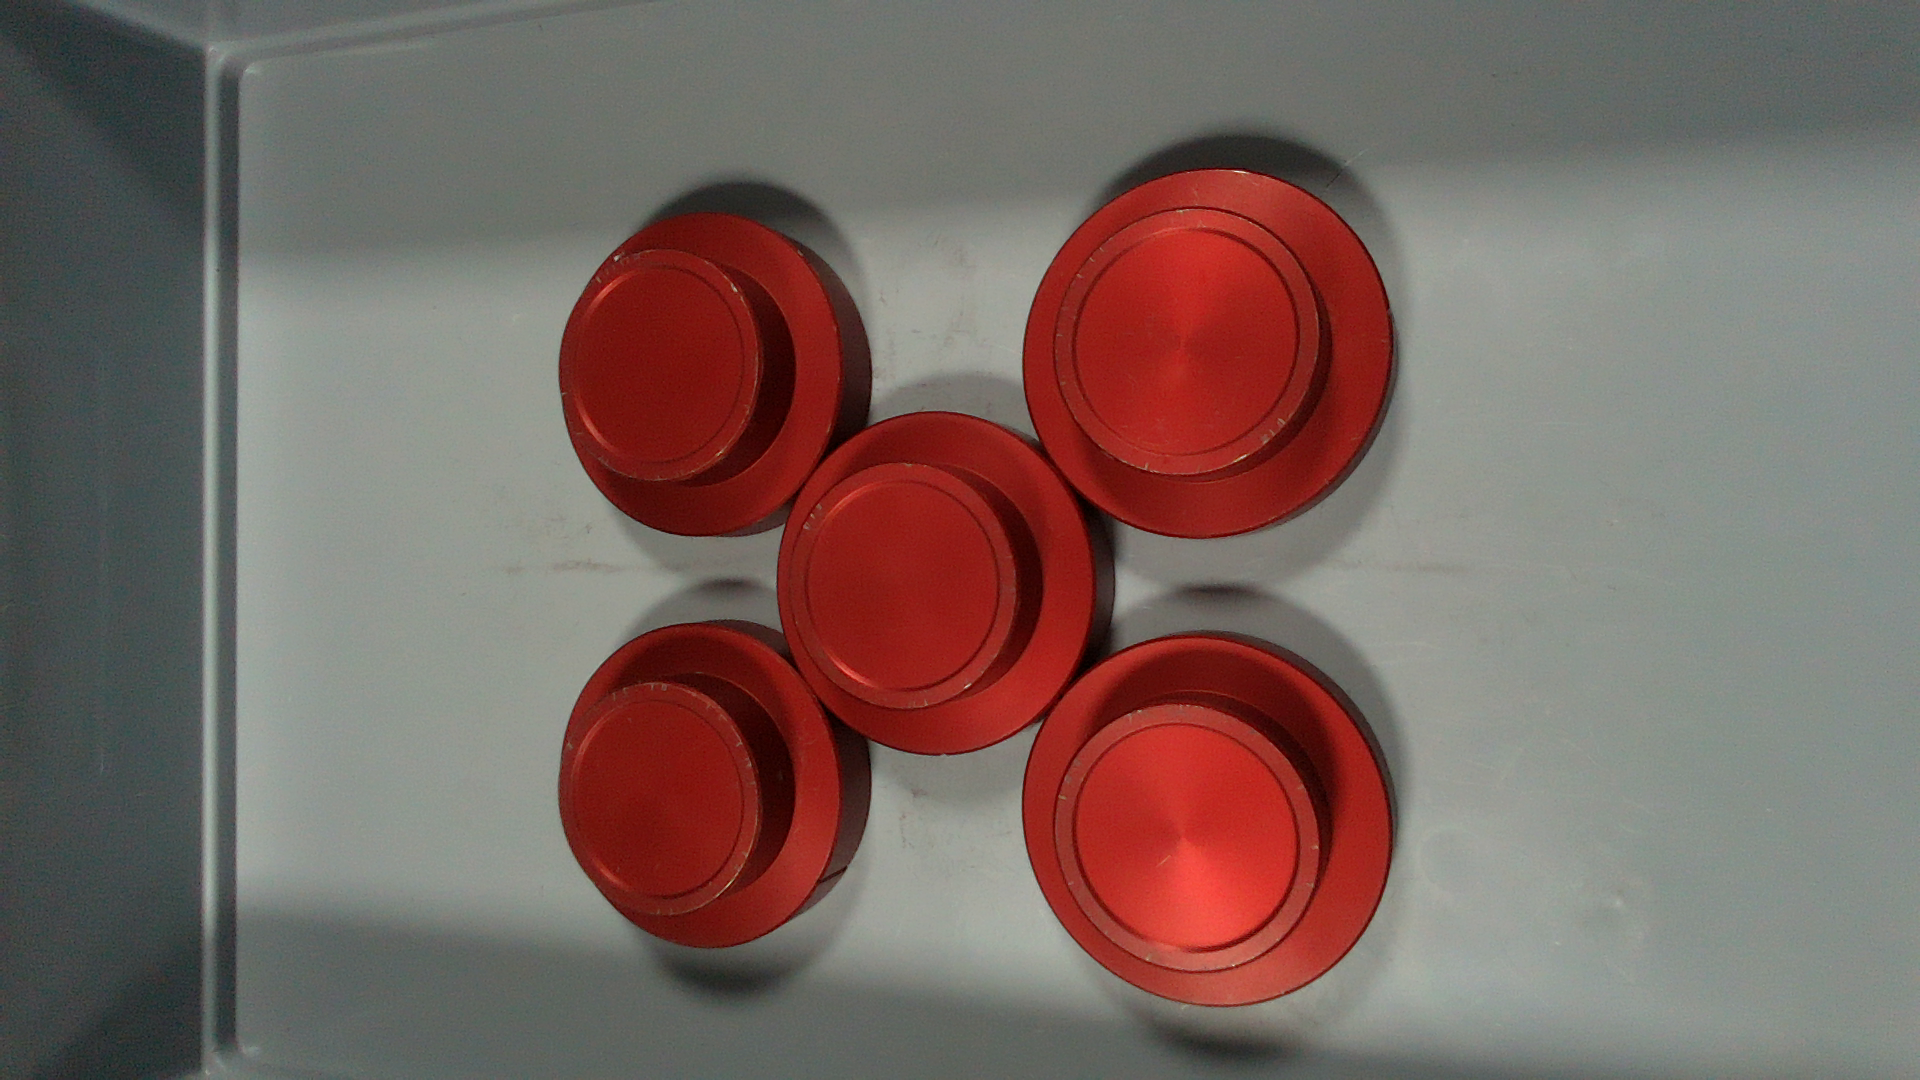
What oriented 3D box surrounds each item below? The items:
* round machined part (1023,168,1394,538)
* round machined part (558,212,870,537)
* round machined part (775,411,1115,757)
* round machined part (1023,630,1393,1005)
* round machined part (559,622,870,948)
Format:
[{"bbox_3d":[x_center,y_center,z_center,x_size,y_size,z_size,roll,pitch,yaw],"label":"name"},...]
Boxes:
[{"bbox_3d":[0.063,-0.049,0.363,0.098,0.042,0.098,0,90,20],"label":"round machined part"},{"bbox_3d":[-0.080,-0.050,0.415,0.098,0.042,0.098,0,90,20],"label":"round machined part"},{"bbox_3d":[-0.009,0.012,0.388,0.098,0.042,0.098,0,90,20],"label":"round machined part"},{"bbox_3d":[0.063,0.074,0.363,0.098,0.042,0.098,0,90,20],"label":"round machined part"},{"bbox_3d":[-0.080,0.074,0.415,0.098,0.042,0.098,0,90,20],"label":"round machined part"}]
